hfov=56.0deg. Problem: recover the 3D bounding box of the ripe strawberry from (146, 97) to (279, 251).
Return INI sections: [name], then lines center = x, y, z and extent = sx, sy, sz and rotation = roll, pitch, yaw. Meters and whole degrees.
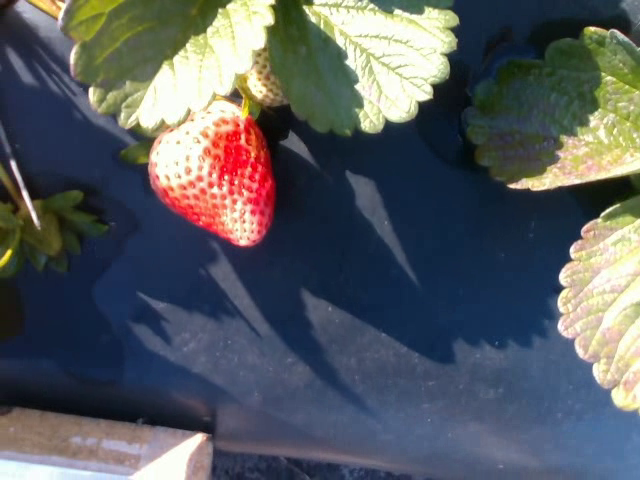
[ripe strawberry]
center = -0.022, -0.015, 0.146
extent = 0.042, 0.045, 0.037
rotation = -24, -38, -9
